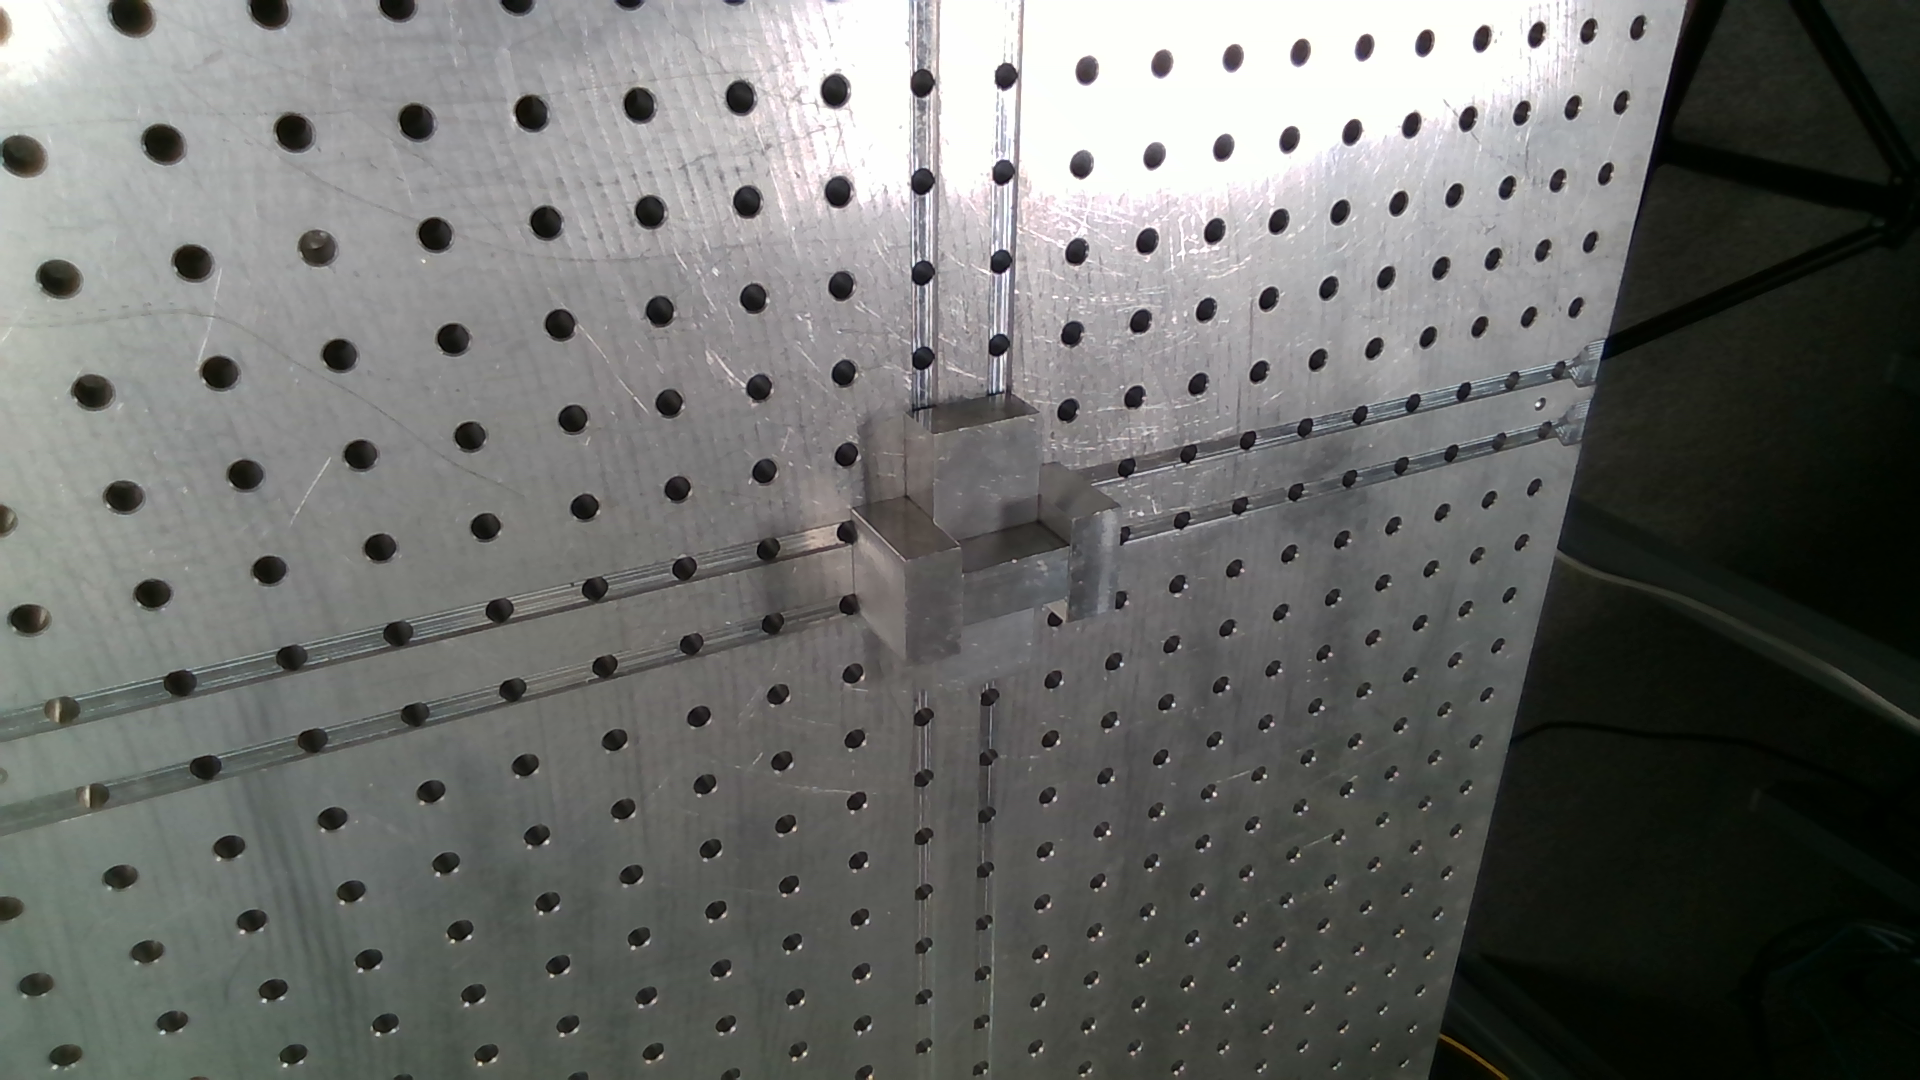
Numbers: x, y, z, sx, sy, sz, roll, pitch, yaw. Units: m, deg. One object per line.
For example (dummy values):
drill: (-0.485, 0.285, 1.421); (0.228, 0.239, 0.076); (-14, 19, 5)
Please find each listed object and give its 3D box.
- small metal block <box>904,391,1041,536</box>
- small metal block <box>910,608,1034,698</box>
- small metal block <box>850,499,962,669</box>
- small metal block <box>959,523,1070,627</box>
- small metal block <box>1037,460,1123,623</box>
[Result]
small metal block: (0.005, -0.030, 0.570); (0.050, 0.025, 0.050); (-14, 121, -25)
small metal block: (0.005, 0.036, 0.606); (0.050, 0.025, 0.050); (-13, 121, -25)
small metal block: (-0.022, 0.016, 0.562); (0.025, 0.050, 0.050); (-14, 121, -25)
small metal block: (0.011, 0.008, 0.578); (0.050, 0.050, 0.025); (-14, 121, -25)
small metal block: (0.044, 0.000, 0.594); (0.025, 0.050, 0.050); (-14, 121, -25)
